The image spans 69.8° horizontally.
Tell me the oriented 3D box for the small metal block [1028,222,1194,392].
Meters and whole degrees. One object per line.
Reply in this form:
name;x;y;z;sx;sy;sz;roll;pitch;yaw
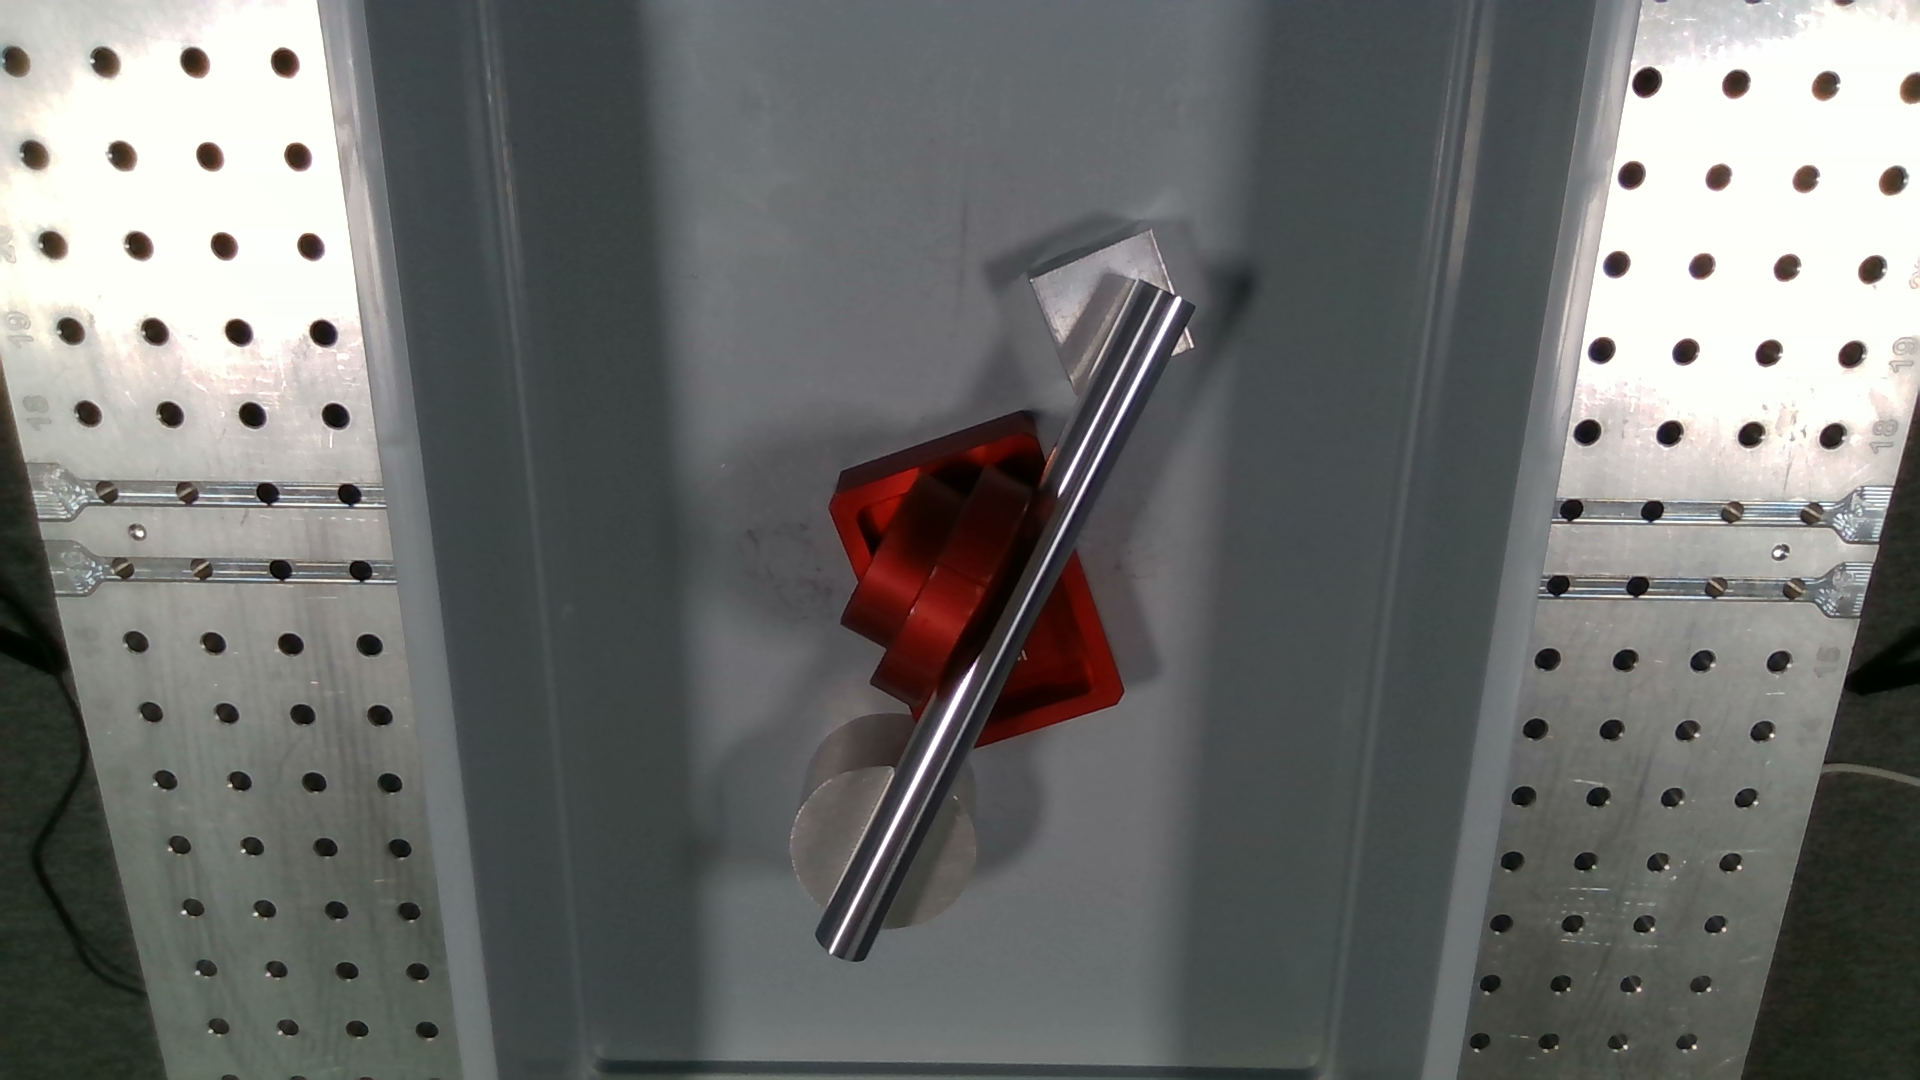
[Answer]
small metal block;0.060;-0.093;0.549;0.050;0.025;0.050;-21;109;8

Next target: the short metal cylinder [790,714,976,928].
short metal cylinder;-0.033;0.125;0.616;0.080;0.050;0.080;0;110;0

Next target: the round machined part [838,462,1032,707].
round machined part;-0.013;0.012;0.535;0.042;0.098;0.098;29;108;-2

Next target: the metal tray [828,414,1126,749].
metal tray;0.009;0.021;0.588;0.090;0.030;0.130;-18;109;7

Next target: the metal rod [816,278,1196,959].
metal rod;0.014;0.038;0.554;0.025;0.025;0.300;24;102;-8
